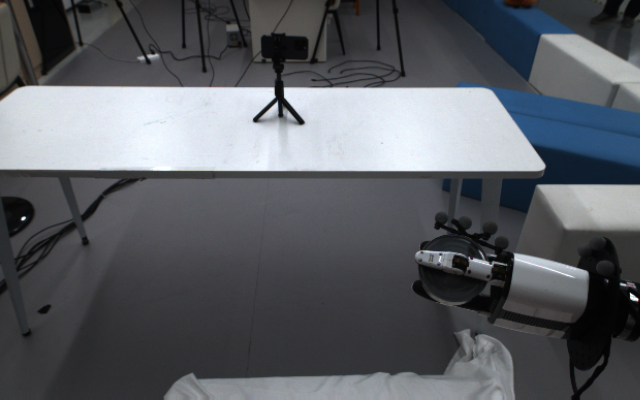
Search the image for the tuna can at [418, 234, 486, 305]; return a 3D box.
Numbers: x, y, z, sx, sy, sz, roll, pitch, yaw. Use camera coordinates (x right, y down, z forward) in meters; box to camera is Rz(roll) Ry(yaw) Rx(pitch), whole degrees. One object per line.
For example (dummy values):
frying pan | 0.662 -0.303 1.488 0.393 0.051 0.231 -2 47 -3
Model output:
tuna can | 0.169 0.085 0.608 0.085 0.034 0.085 -4 66 10
